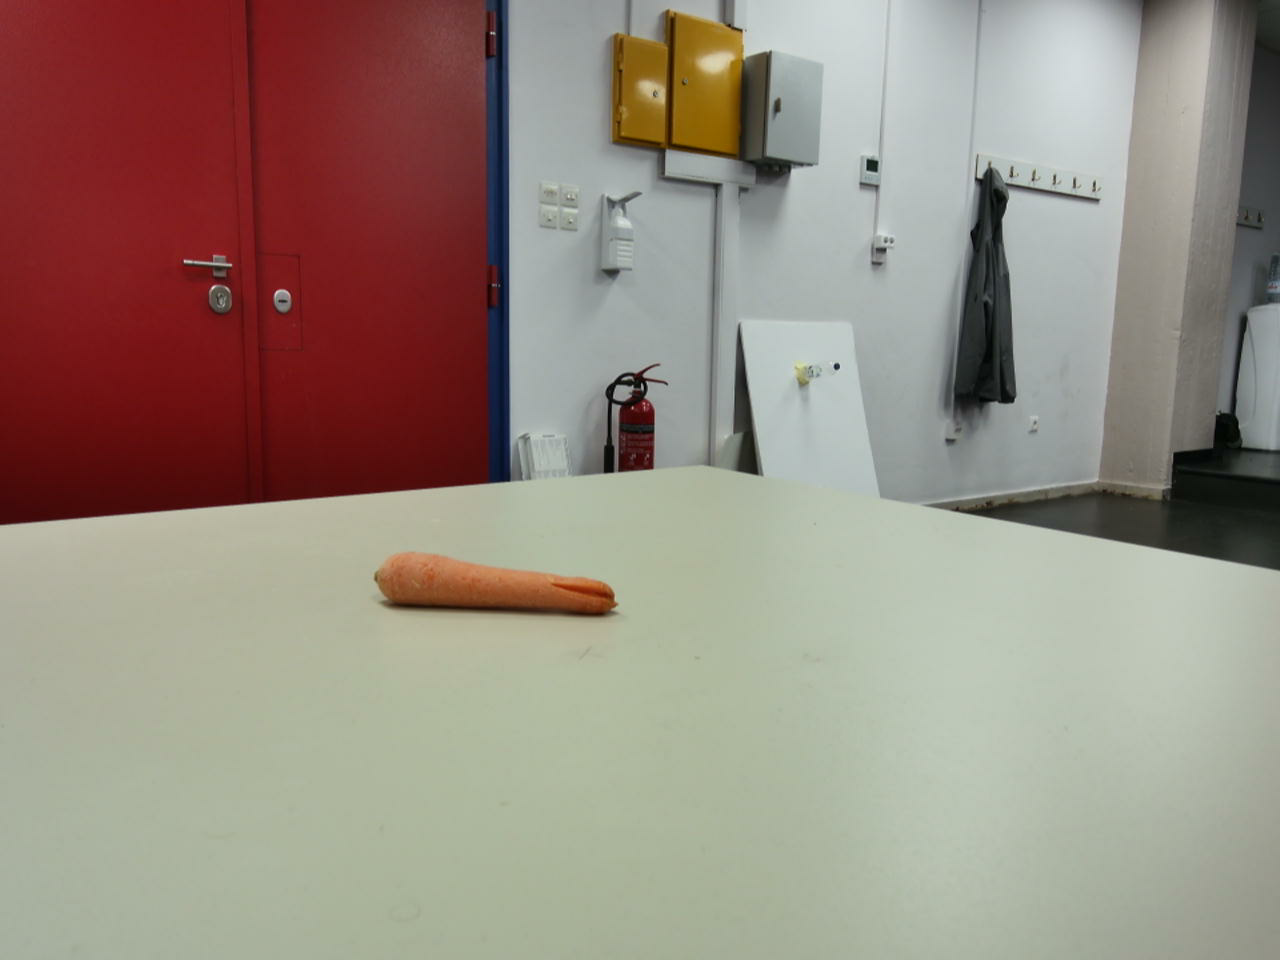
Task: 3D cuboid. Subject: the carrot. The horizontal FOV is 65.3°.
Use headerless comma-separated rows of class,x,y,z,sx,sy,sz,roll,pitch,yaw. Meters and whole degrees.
carrot,-0.080,0.056,0.549,0.136,0.032,0.030,2,7,9
